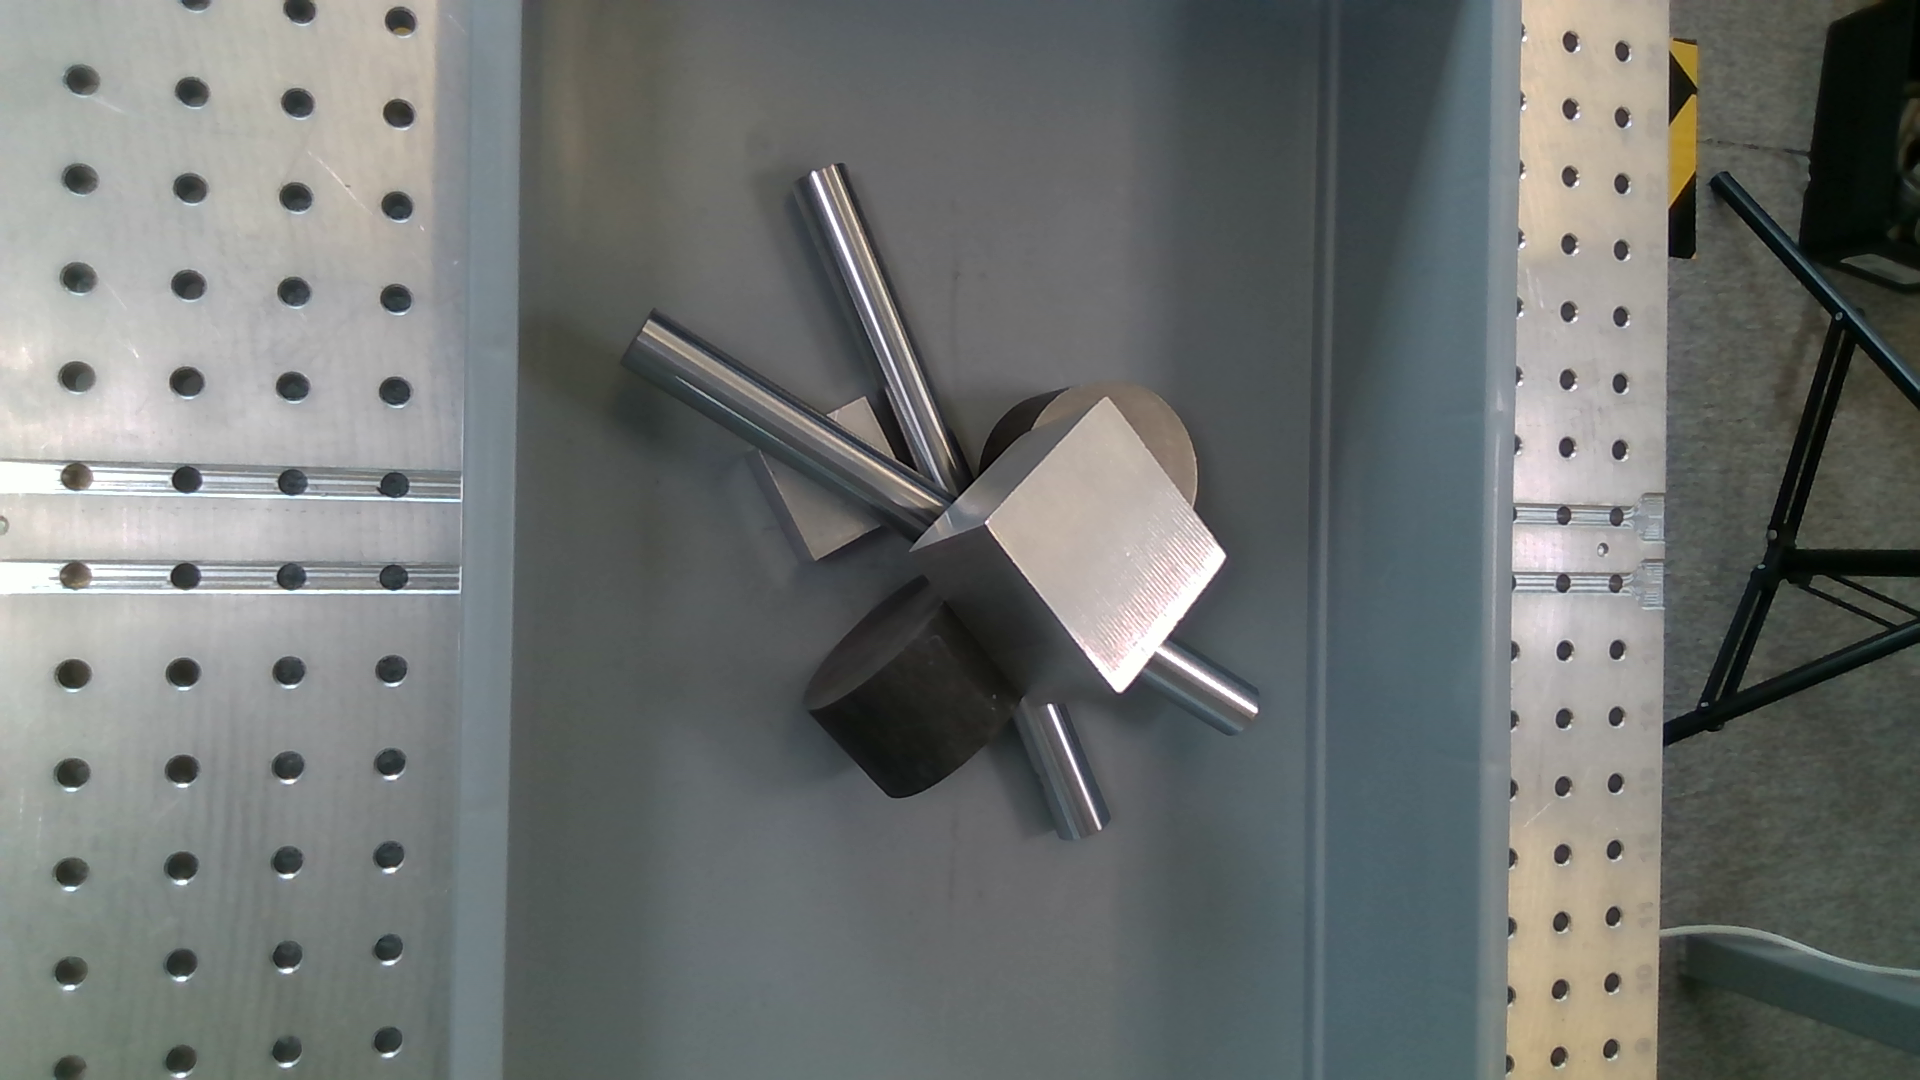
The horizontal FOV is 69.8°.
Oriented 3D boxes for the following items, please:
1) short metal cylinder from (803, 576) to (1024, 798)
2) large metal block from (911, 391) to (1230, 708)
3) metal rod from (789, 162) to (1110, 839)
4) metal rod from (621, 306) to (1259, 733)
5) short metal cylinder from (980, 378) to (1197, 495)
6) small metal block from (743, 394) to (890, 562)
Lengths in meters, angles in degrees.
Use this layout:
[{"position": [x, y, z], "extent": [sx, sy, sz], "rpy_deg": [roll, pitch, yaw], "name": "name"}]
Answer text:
[{"position": [-0.017, 0.056, 0.550], "extent": [0.080, 0.080, 0.050], "rpy_deg": [-45, 103, -15], "name": "short metal cylinder"}, {"position": [0.043, 0.005, 0.520], "extent": [0.080, 0.050, 0.080], "rpy_deg": [52, 57, -12], "name": "large metal block"}, {"position": [-0.002, -0.012, 0.584], "extent": [0.025, 0.025, 0.300], "rpy_deg": [-25, 99, -18], "name": "metal rod"}, {"position": [0.001, -0.002, 0.559], "extent": [0.300, 0.025, 0.025], "rpy_deg": [32, 80, -18], "name": "metal rod"}, {"position": [0.054, -0.027, 0.592], "extent": [0.080, 0.050, 0.080], "rpy_deg": [0, 90, -20], "name": "short metal cylinder"}, {"position": [-0.053, -0.025, 0.565], "extent": [0.050, 0.025, 0.050], "rpy_deg": [-30, 100, -18], "name": "small metal block"}]
